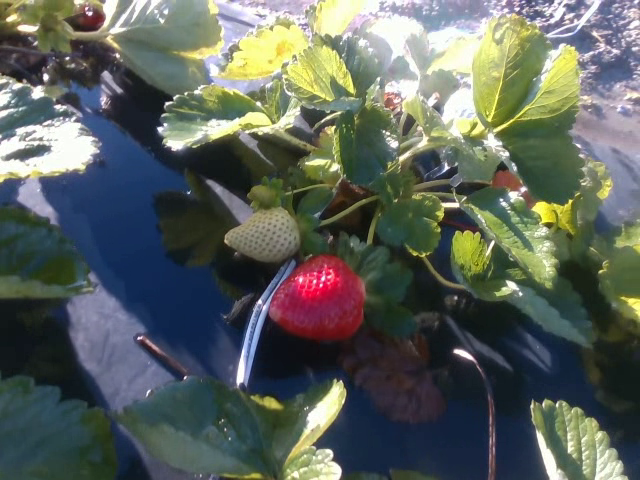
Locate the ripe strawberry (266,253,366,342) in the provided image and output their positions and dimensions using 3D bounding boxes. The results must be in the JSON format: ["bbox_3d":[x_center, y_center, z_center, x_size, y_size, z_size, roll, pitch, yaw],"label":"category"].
[{"bbox_3d":[0.004,0.032,0.336,0.080,0.062,0.040,-9,-8,-46],"label":"ripe strawberry"}]
